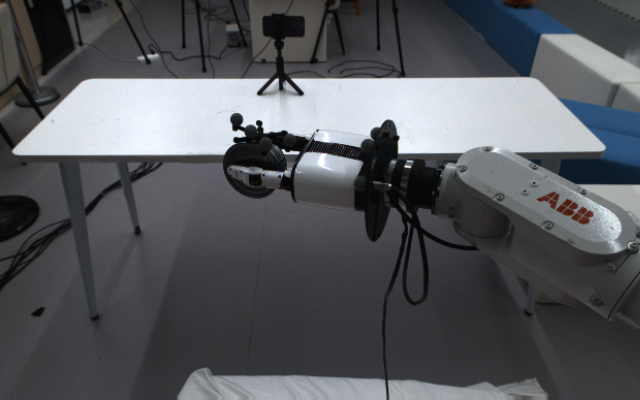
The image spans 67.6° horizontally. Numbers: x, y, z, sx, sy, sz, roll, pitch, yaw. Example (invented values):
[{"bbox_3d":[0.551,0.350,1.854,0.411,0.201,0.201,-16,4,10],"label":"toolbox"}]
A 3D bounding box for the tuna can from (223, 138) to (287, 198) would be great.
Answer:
[{"bbox_3d":[-0.090,-0.047,0.684,0.085,0.085,0.034,12,30,15],"label":"tuna can"}]
